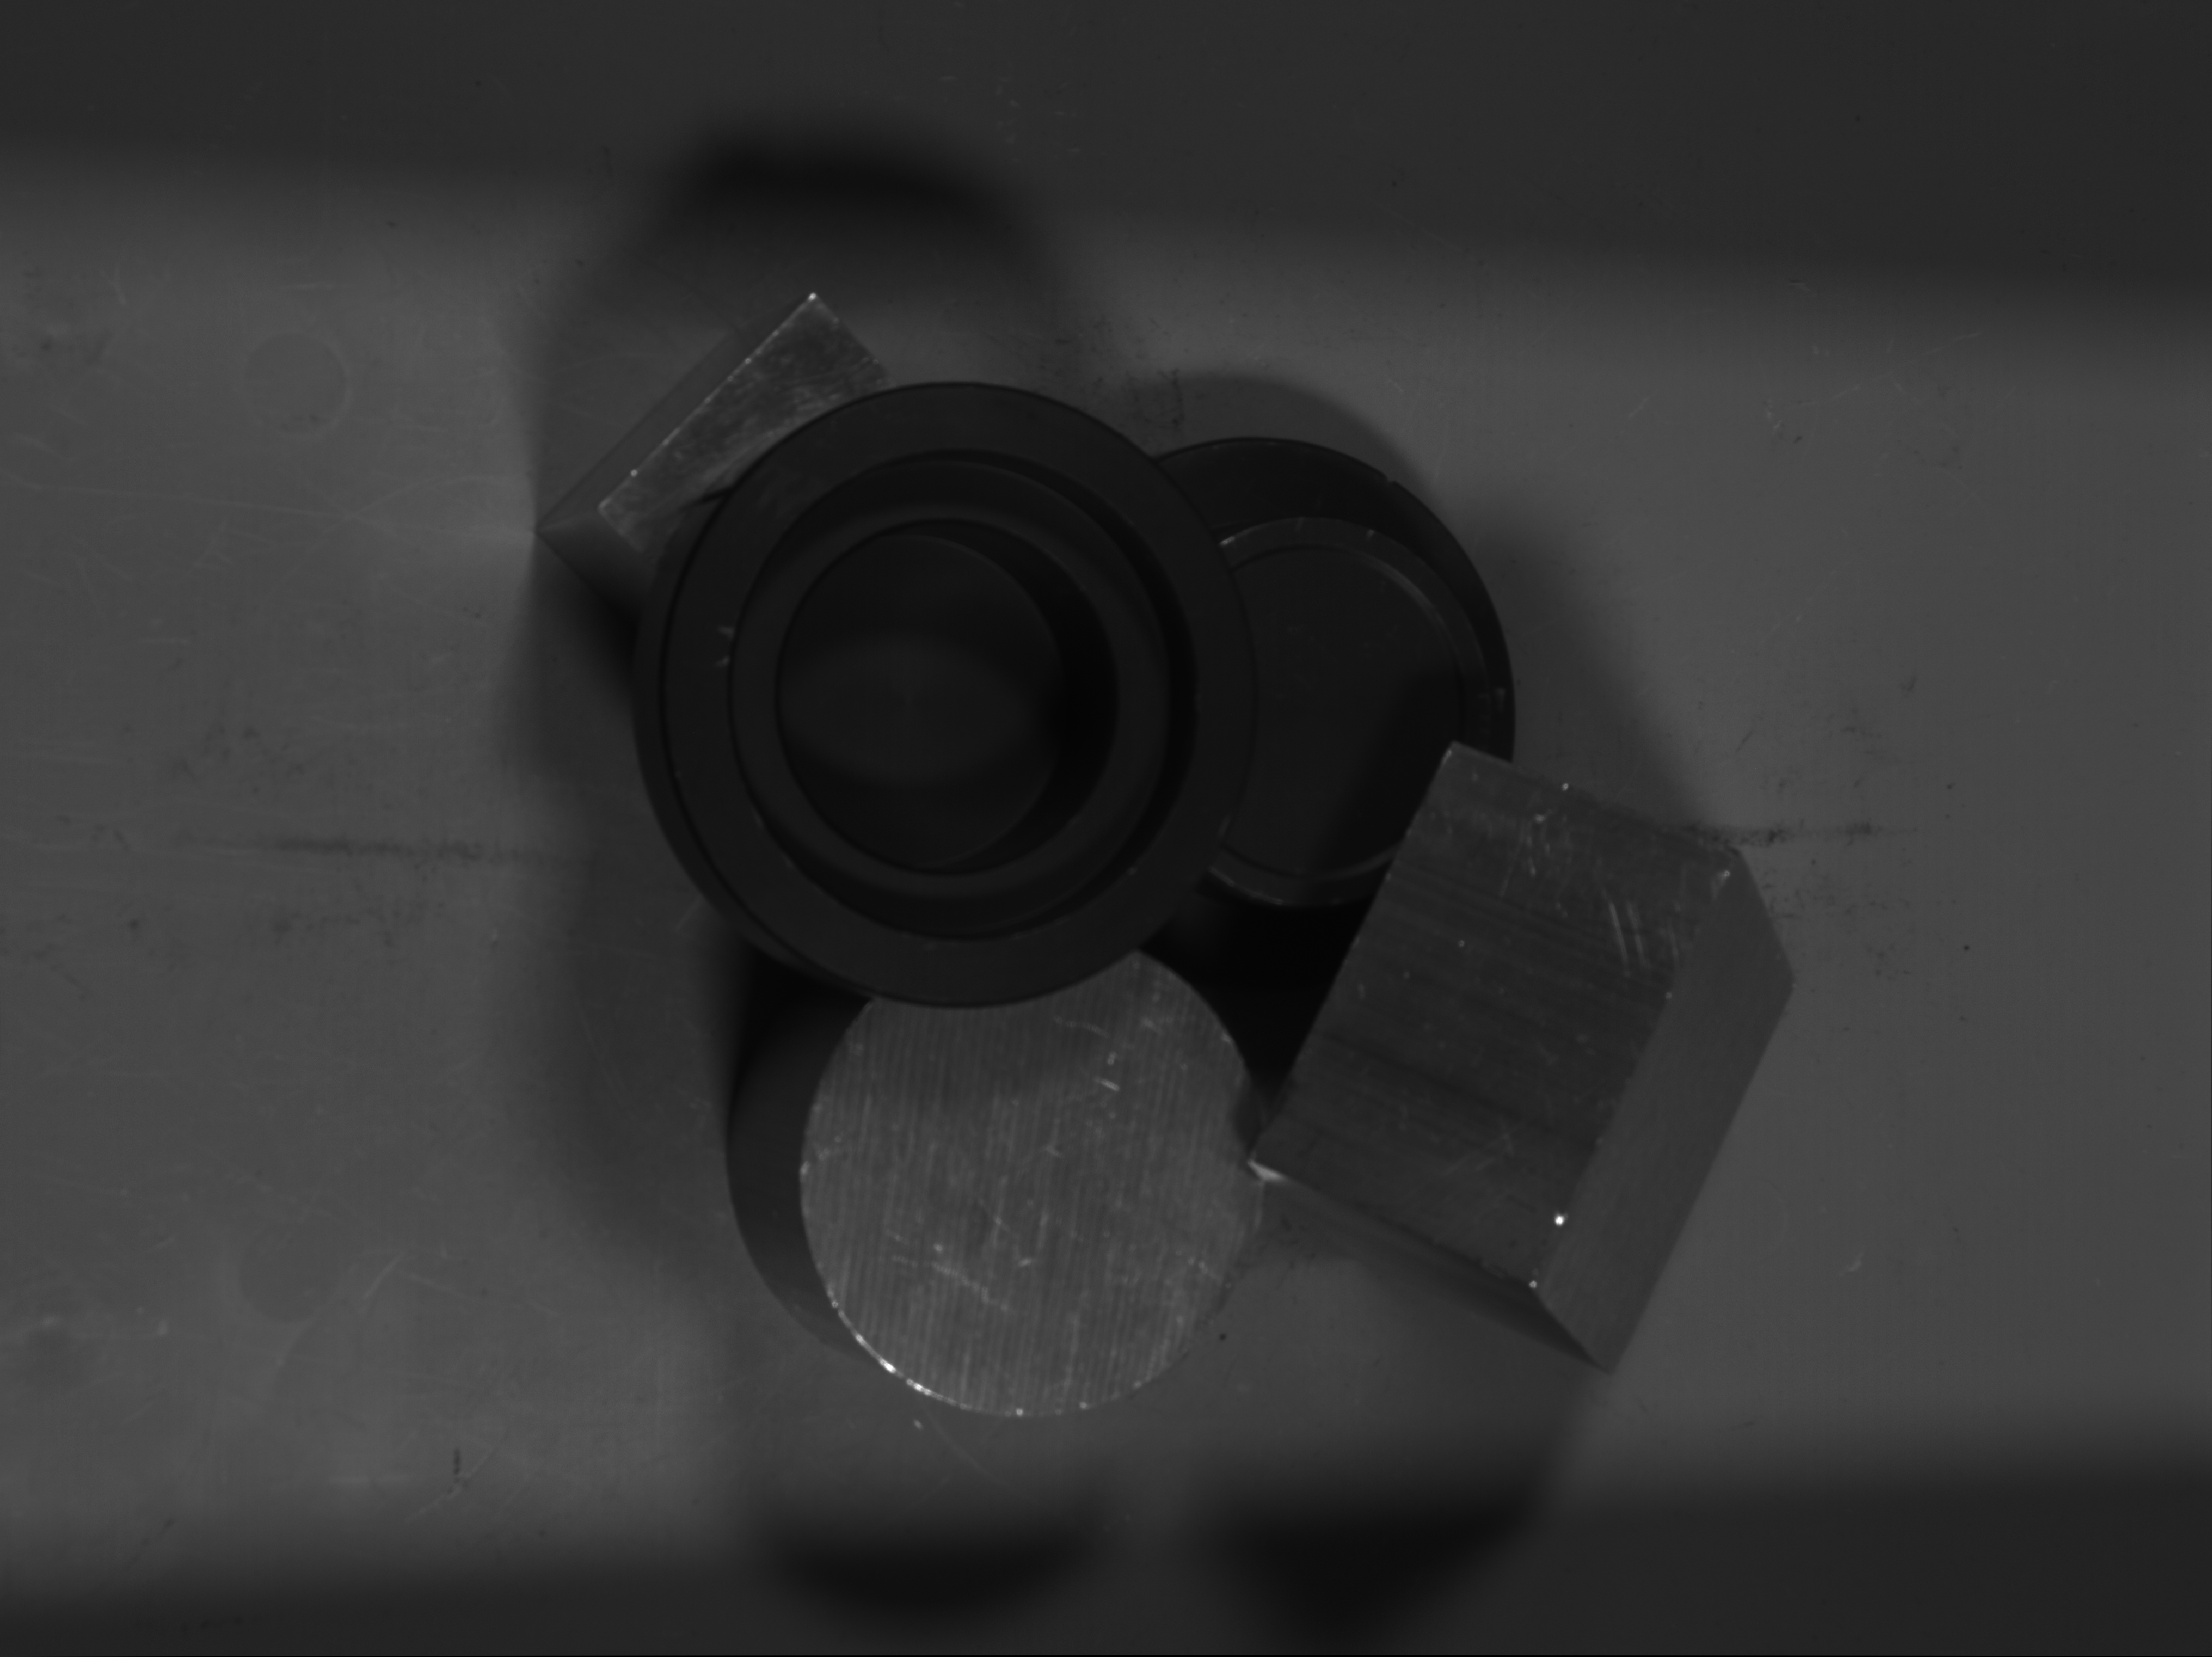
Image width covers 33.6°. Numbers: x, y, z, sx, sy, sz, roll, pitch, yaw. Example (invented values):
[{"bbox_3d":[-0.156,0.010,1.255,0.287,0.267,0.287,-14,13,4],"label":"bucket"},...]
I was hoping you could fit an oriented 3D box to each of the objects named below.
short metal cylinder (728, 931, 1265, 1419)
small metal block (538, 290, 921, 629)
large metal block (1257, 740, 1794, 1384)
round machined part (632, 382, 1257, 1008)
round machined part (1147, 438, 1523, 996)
[{"bbox_3d":[-0.019,0.056,0.622,0.080,0.050,0.080,0,90,-20],"label":"short metal cylinder"},{"bbox_3d":[-0.063,-0.059,0.605,0.025,0.050,0.050,46,76,-14],"label":"small metal block"},{"bbox_3d":[0.075,0.042,0.633,0.050,0.080,0.080,23,79,23],"label":"large metal block"},{"bbox_3d":[-0.029,-0.021,0.592,0.098,0.042,0.098,0,90,-20],"label":"round machined part"},{"bbox_3d":[0.029,-0.020,0.642,0.098,0.042,0.098,0,90,-20],"label":"round machined part"}]
